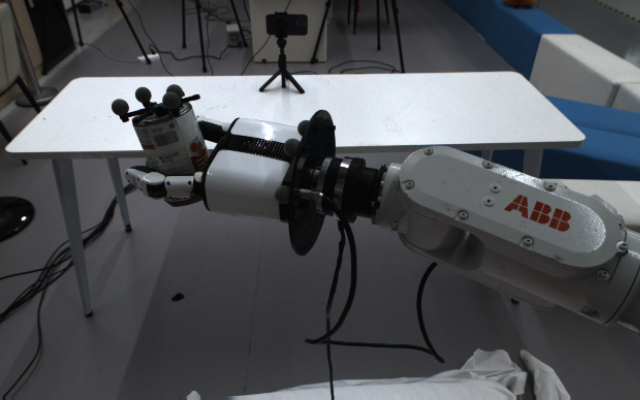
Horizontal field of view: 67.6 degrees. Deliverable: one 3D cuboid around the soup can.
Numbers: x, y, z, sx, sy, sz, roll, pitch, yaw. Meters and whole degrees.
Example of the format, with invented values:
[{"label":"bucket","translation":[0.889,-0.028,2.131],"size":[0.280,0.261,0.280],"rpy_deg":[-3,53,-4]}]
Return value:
[{"label":"soup can","translation":[-0.160,-0.051,0.548],"size":[0.067,0.101,0.067],"rpy_deg":[-11,27,6]}]
